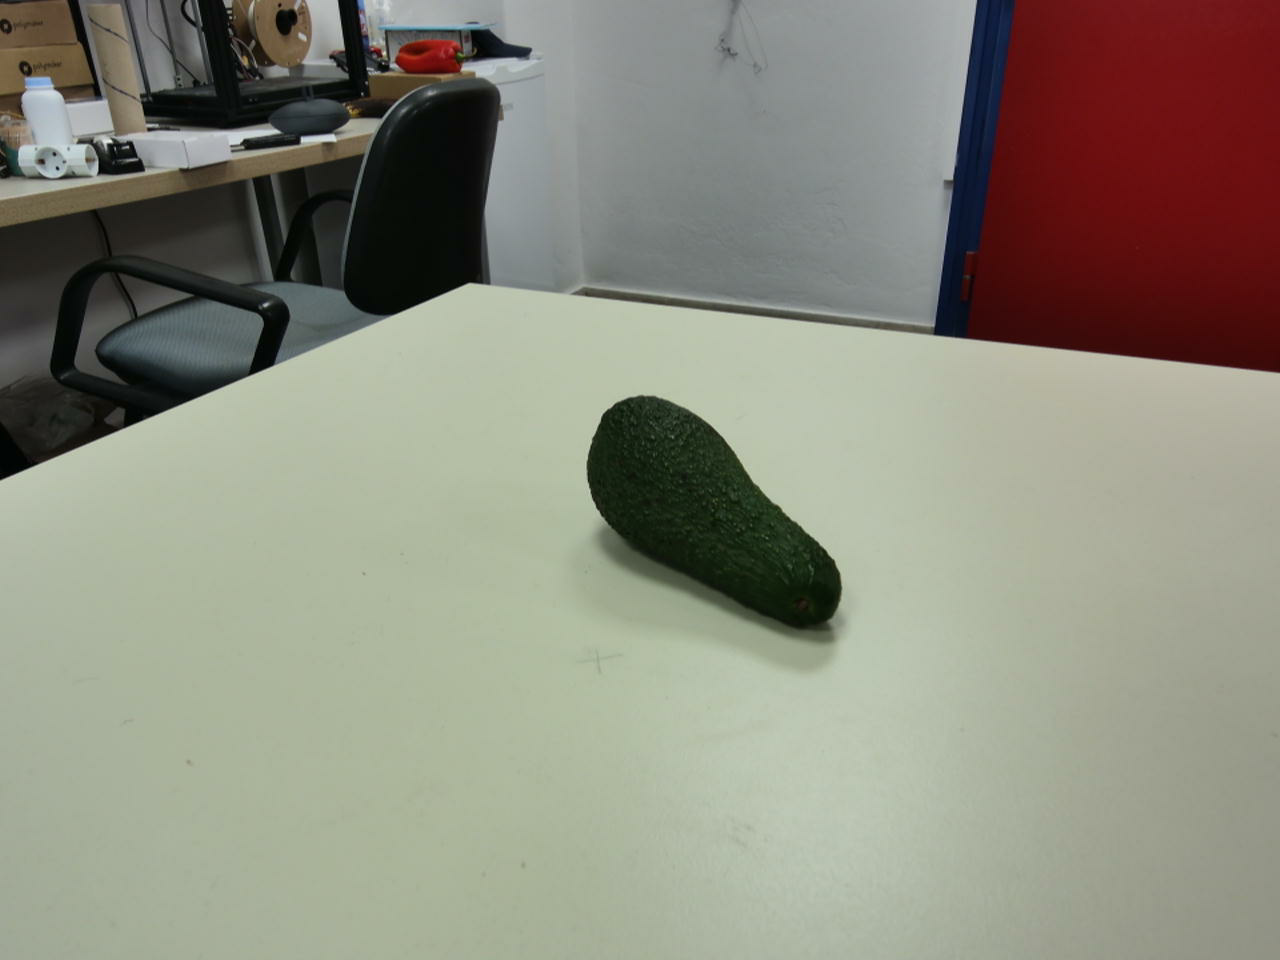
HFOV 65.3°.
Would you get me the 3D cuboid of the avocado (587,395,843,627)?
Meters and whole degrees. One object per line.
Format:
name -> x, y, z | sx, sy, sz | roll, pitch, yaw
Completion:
avocado -> 0.032, 0.007, 0.421 | 0.141, 0.067, 0.063 | 19, 30, 37
